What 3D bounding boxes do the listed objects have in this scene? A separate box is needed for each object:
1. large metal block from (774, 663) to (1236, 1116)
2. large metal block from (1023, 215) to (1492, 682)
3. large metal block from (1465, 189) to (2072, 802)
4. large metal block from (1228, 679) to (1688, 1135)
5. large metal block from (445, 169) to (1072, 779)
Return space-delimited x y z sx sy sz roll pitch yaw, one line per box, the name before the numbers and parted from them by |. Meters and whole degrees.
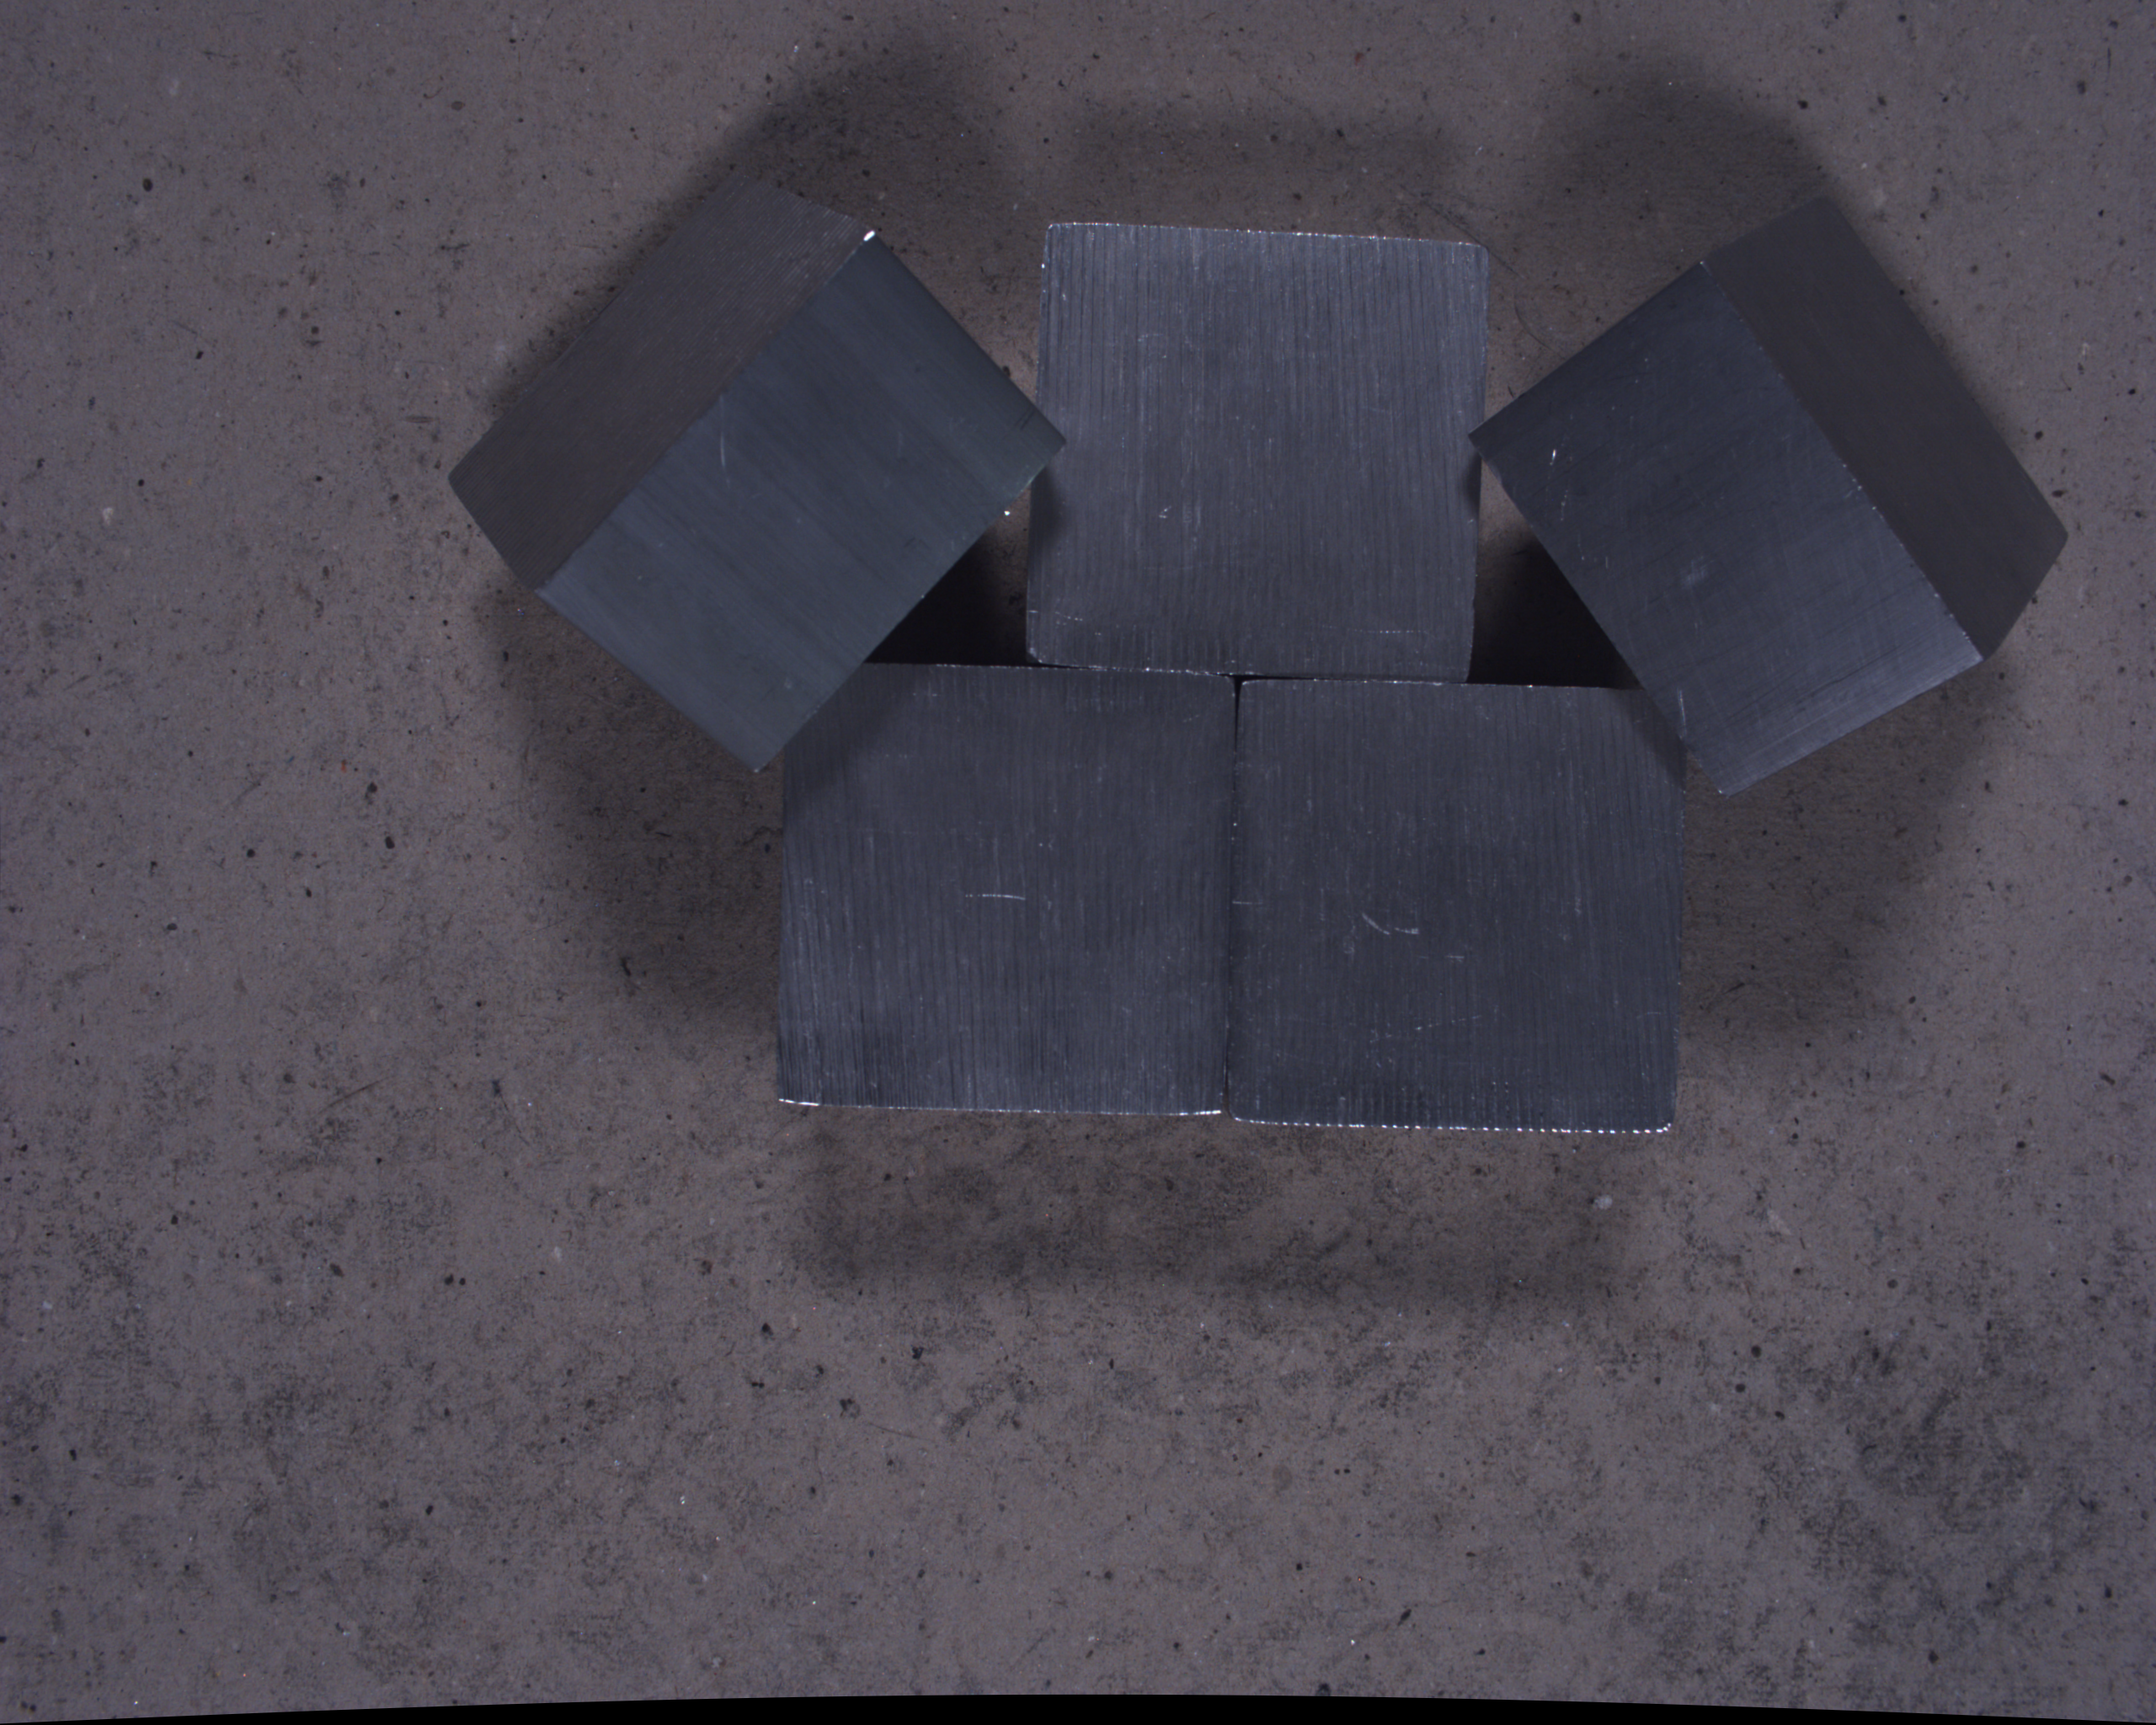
large metal block | -0.013 0.004 0.398 0.081 0.050 0.079 1 90 -1
large metal block | 0.032 -0.075 0.399 0.081 0.050 0.079 3 90 -1
large metal block | 0.128 -0.069 0.379 0.050 0.080 0.080 -35 90 40
large metal block | 0.068 0.008 0.398 0.081 0.050 0.079 1 90 -1
large metal block | -0.060 -0.073 0.376 0.080 0.080 0.050 -47 125 0
